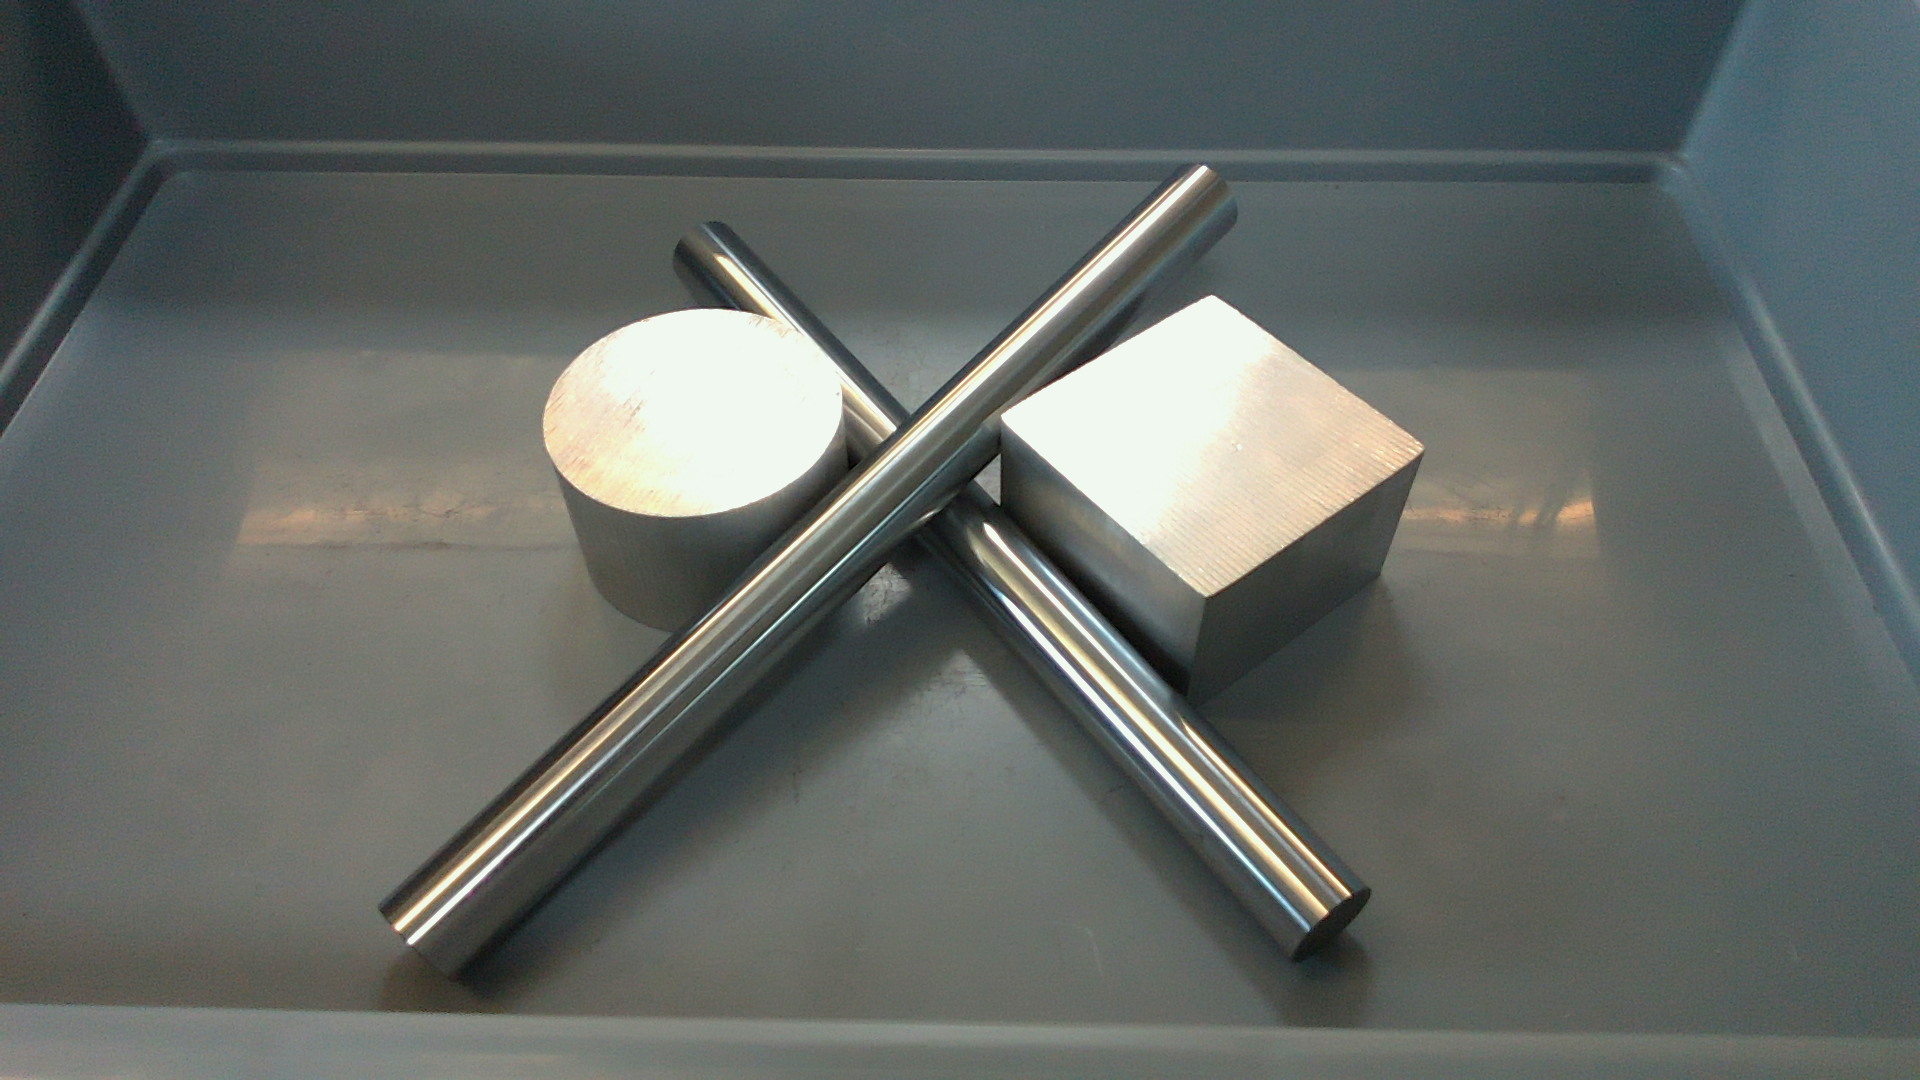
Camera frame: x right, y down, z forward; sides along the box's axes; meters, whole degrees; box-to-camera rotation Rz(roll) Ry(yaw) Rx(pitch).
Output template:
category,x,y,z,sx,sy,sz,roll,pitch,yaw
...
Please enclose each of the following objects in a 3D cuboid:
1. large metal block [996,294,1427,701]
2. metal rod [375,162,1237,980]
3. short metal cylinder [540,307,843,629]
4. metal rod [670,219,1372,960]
category,x,y,z,sx,sy,sz,roll,pitch,yaw
large metal block,0.066,-0.013,0.383,0.080,0.050,0.080,-31,56,-24
metal rod,-0.025,-0.007,0.368,0.025,0.025,0.301,35,66,26
short metal cylinder,-0.072,-0.021,0.391,0.080,0.050,0.080,0,50,0
metal rod,-0.001,-0.006,0.394,0.025,0.025,0.299,-29,56,-22
